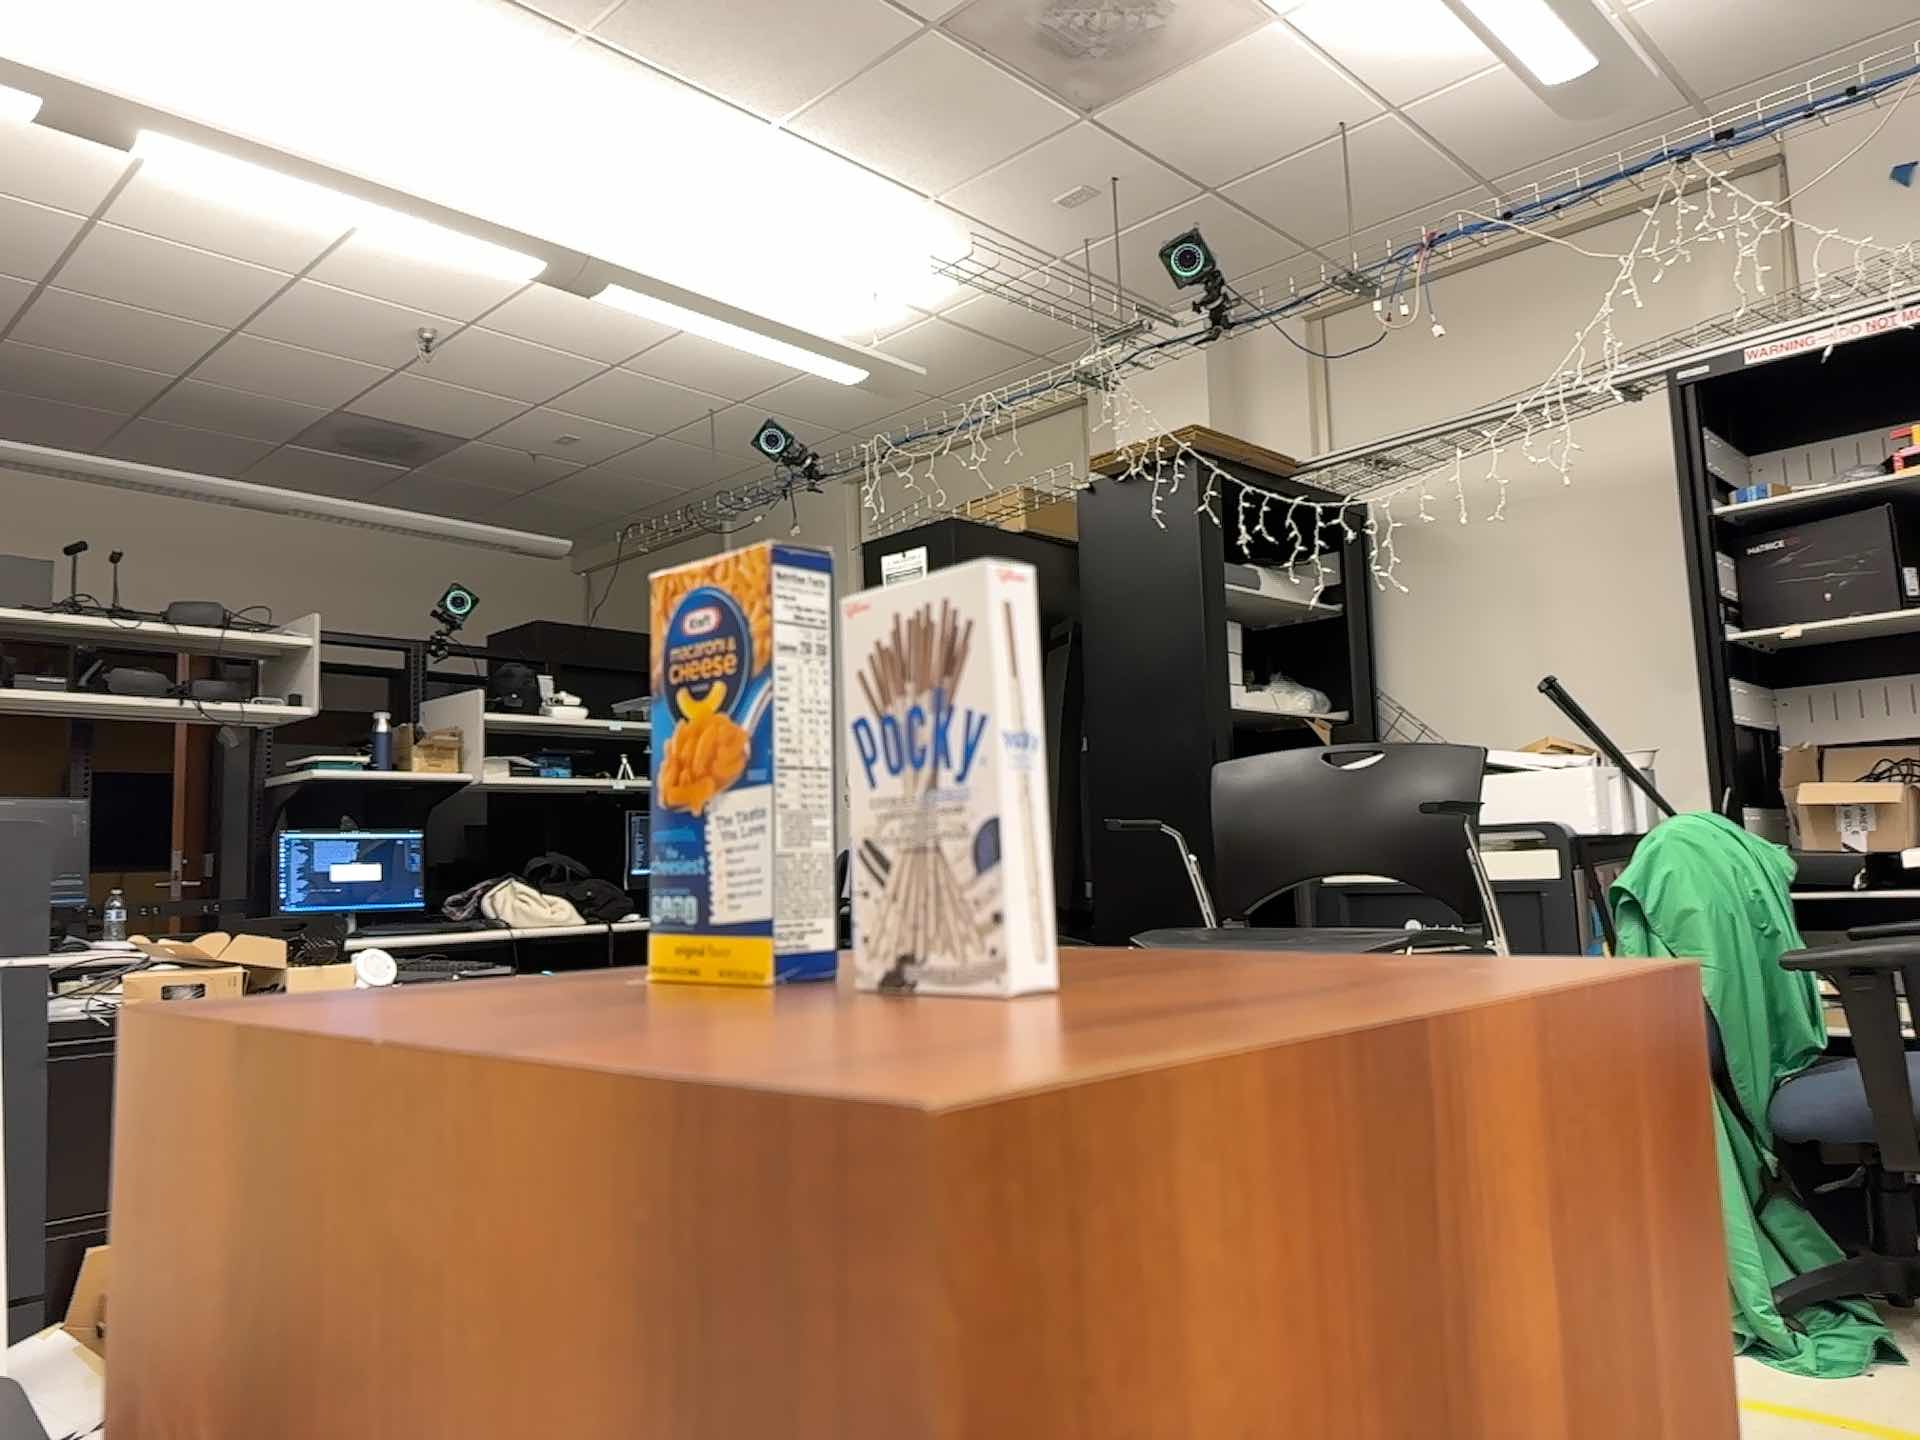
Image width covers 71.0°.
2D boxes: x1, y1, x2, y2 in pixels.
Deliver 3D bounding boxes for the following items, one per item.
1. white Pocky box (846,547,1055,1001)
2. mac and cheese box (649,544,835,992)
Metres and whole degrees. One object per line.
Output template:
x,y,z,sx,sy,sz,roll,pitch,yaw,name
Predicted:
-0.006,0.022,0.488,0.028,0.154,0.084,4,-10,-39,white Pocky box
-0.096,0.024,0.587,0.035,0.181,0.088,7,-13,-42,mac and cheese box
